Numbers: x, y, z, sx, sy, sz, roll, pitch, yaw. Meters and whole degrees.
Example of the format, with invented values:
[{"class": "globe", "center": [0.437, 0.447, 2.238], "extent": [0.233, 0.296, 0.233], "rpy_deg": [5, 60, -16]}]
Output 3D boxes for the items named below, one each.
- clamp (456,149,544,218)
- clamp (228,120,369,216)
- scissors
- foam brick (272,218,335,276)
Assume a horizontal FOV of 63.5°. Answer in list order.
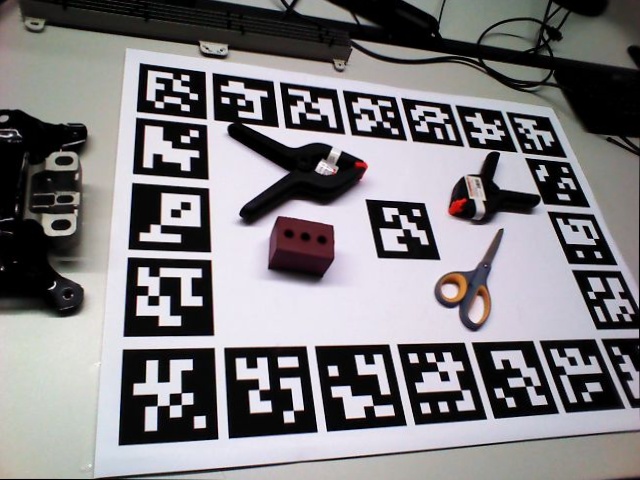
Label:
[{"class": "clamp", "center": [0.286, -0.084, 0.852], "extent": [0.164, 0.037, 0.122], "rpy_deg": [-26, 79, -29]}, {"class": "clamp", "center": [-0.023, -0.105, 0.753], "extent": [0.202, 0.037, 0.164], "rpy_deg": [-1, 58, -21]}, {"class": "scissors", "center": [0.244, 0.042, 0.767], "extent": [0.088, 0.016, 0.201], "rpy_deg": [40, 54, -3]}, {"class": "foam brick", "center": [-0.021, 0.010, 0.680], "extent": [0.078, 0.051, 0.052], "rpy_deg": [7, 60, -10]}]
